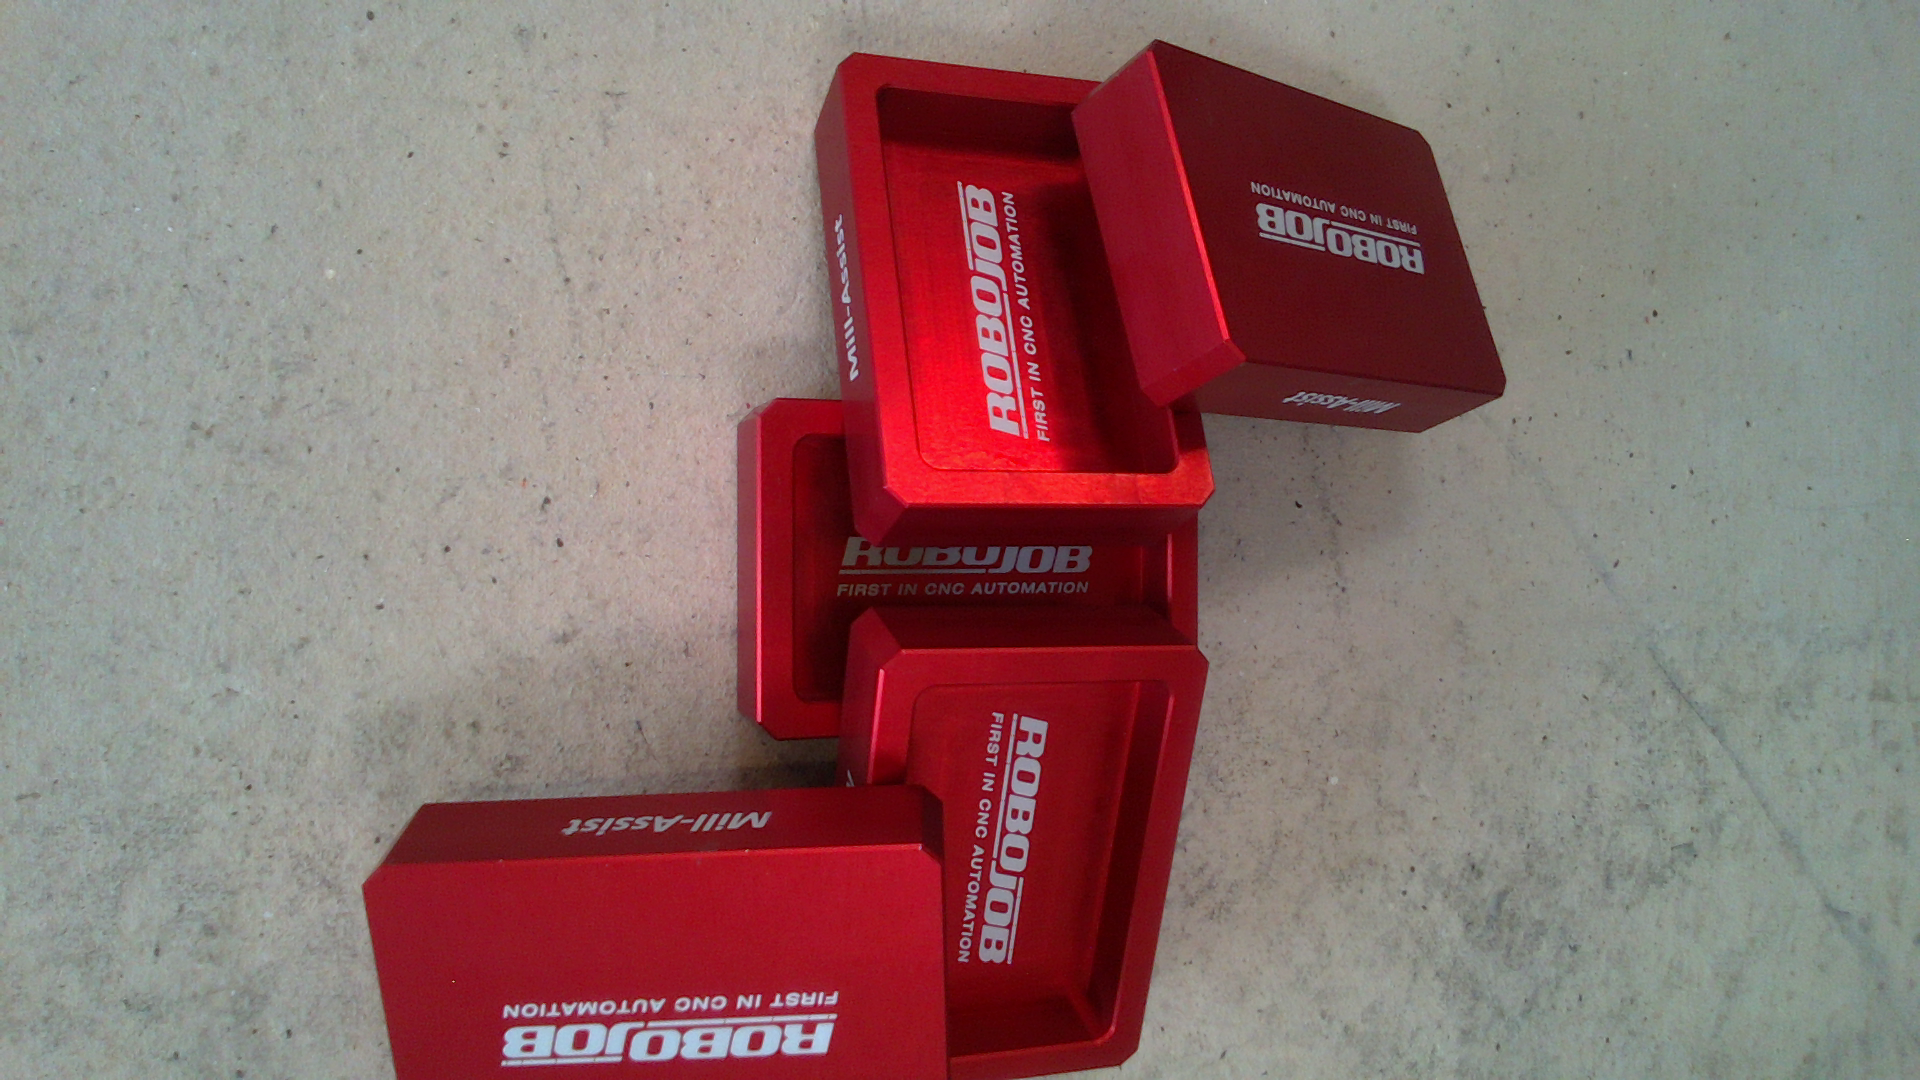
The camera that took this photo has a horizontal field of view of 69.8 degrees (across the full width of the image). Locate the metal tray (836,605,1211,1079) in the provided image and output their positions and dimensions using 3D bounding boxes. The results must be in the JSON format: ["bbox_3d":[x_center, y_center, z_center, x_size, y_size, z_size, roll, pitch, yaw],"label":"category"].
[{"bbox_3d":[0.011,0.084,0.374,0.090,0.030,0.130,1,109,-20],"label":"metal tray"}]

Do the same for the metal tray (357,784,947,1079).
[{"bbox_3d":[-0.069,0.109,0.335,0.130,0.030,0.090,-2,108,-2],"label":"metal tray"}]

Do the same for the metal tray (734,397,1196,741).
[{"bbox_3d":[0.003,0.007,0.393,0.130,0.030,0.090,0,90,-20],"label":"metal tray"}]

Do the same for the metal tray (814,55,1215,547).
[{"bbox_3d":[0.013,-0.064,0.374,0.090,0.030,0.130,0,71,-20],"label":"metal tray"}]

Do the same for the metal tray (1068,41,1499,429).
[{"bbox_3d":[0.096,-0.081,0.392,0.131,0.030,0.090,0,71,-41],"label":"metal tray"}]
